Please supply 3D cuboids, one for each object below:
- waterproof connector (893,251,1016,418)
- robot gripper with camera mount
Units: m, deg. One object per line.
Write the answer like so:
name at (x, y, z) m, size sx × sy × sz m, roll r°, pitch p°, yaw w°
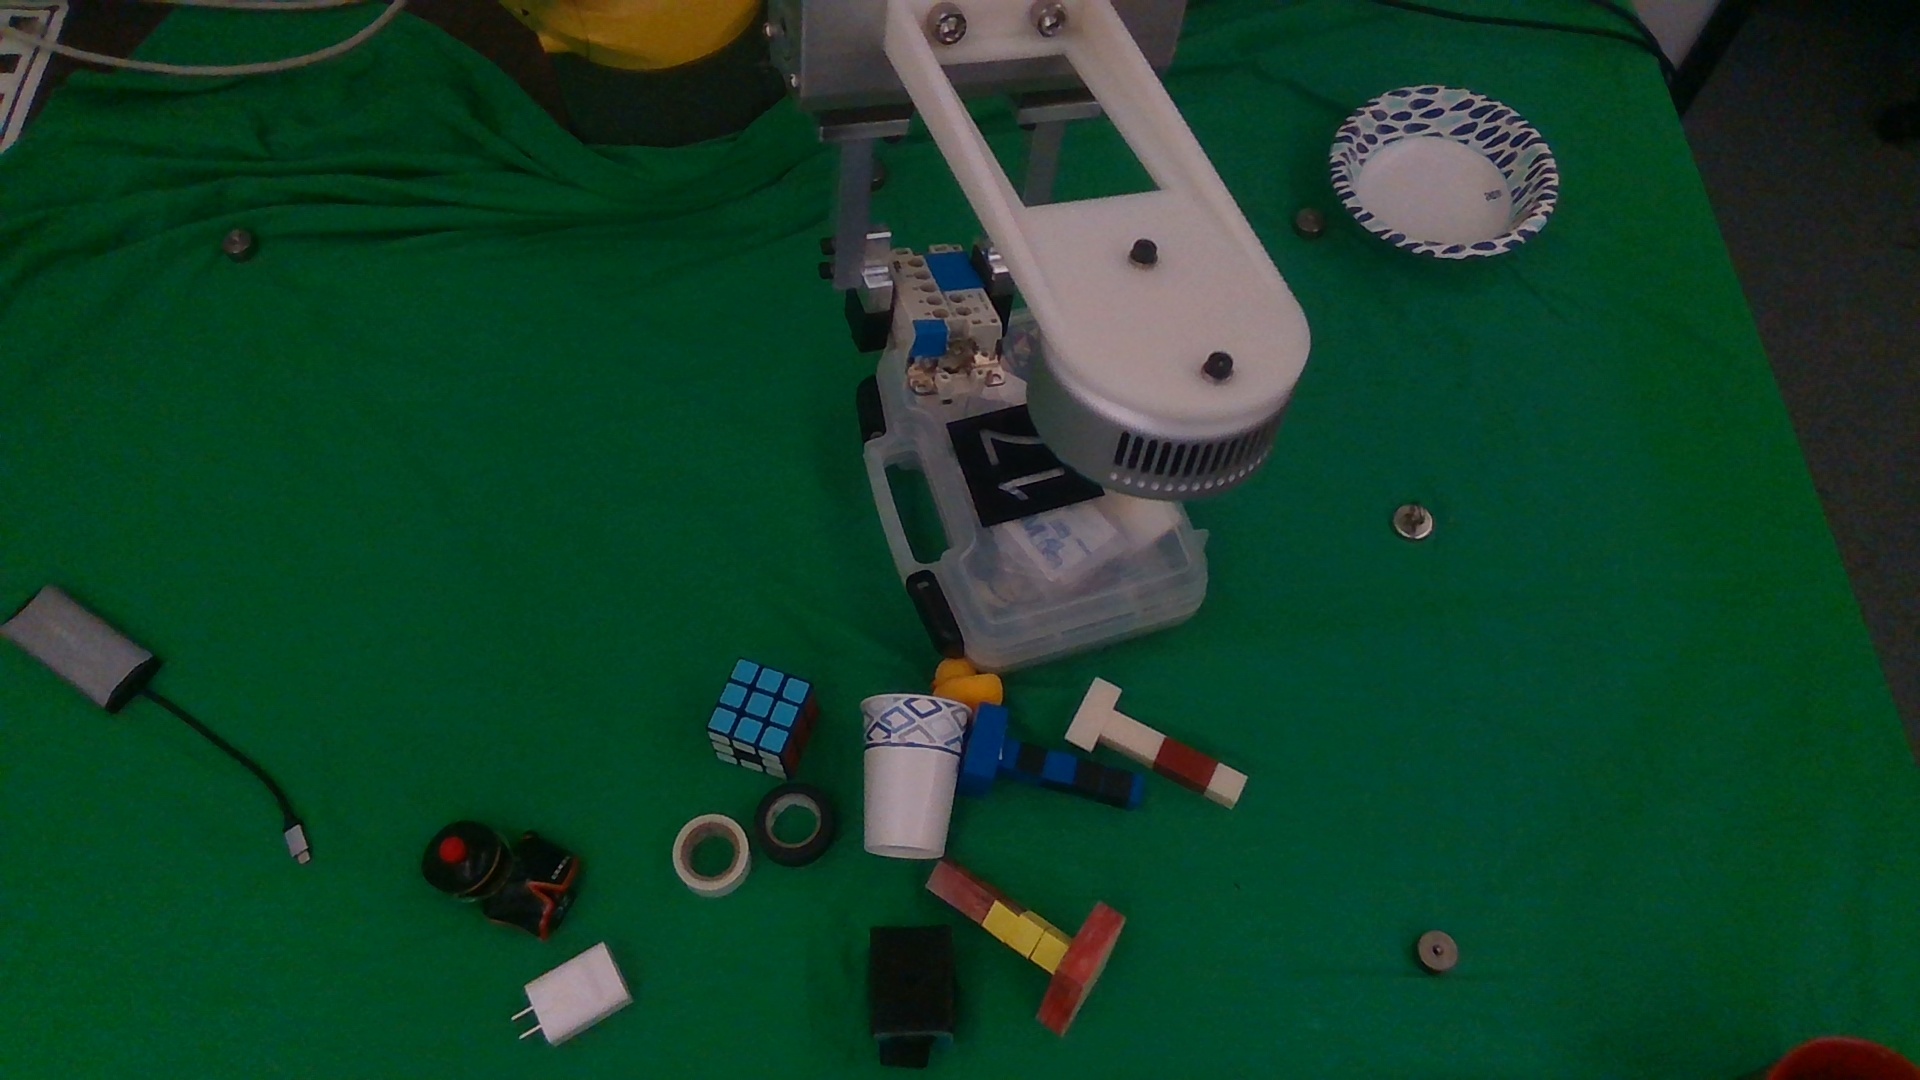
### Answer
waterproof connector at (-0.004, -0.071, 0.477) m, size 0.035 × 0.037 × 0.065 m, roll -8°, pitch 52°, yaw -11°
robot gripper with camera mount at (0.036, -0.068, 0.388) m, size 0.119 × 0.158 × 0.194 m, roll -18°, pitch 53°, yaw -16°
